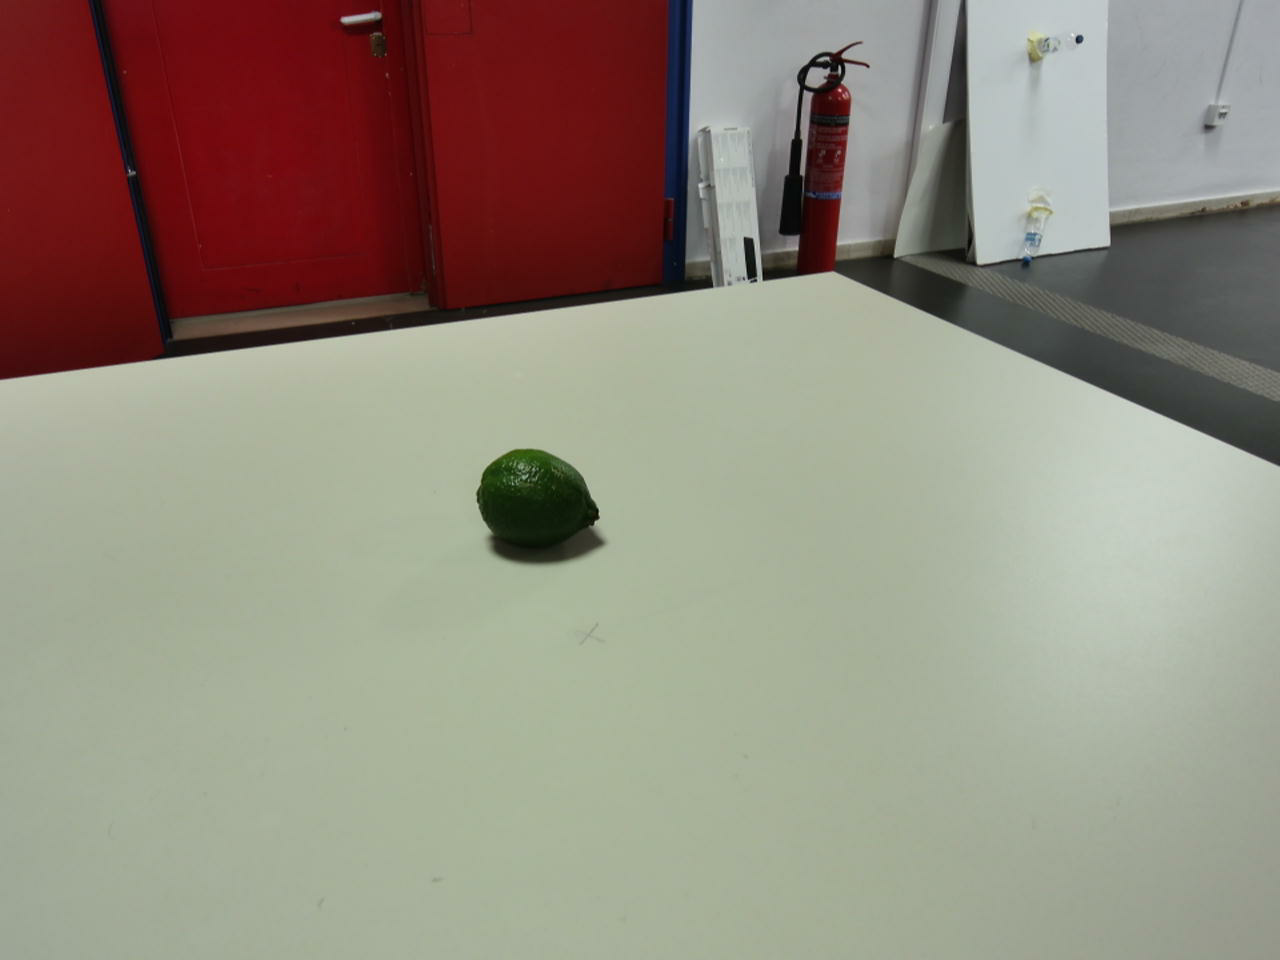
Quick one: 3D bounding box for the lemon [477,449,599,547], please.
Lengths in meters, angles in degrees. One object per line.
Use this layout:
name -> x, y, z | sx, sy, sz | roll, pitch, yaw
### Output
lemon -> -0.055, 0.009, 0.520 | 0.057, 0.051, 0.054 | -13, 28, -26
